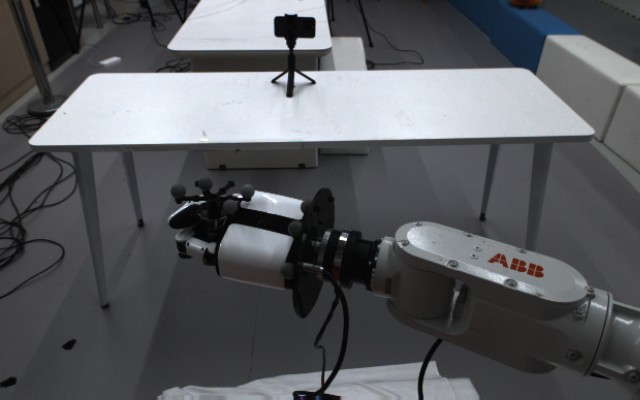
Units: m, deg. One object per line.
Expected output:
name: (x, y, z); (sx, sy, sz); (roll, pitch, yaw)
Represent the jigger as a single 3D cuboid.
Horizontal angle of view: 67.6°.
jigger: (-0.128, 0.040, 0.615); (0.043, 0.071, 0.043); (4, 31, -2)
